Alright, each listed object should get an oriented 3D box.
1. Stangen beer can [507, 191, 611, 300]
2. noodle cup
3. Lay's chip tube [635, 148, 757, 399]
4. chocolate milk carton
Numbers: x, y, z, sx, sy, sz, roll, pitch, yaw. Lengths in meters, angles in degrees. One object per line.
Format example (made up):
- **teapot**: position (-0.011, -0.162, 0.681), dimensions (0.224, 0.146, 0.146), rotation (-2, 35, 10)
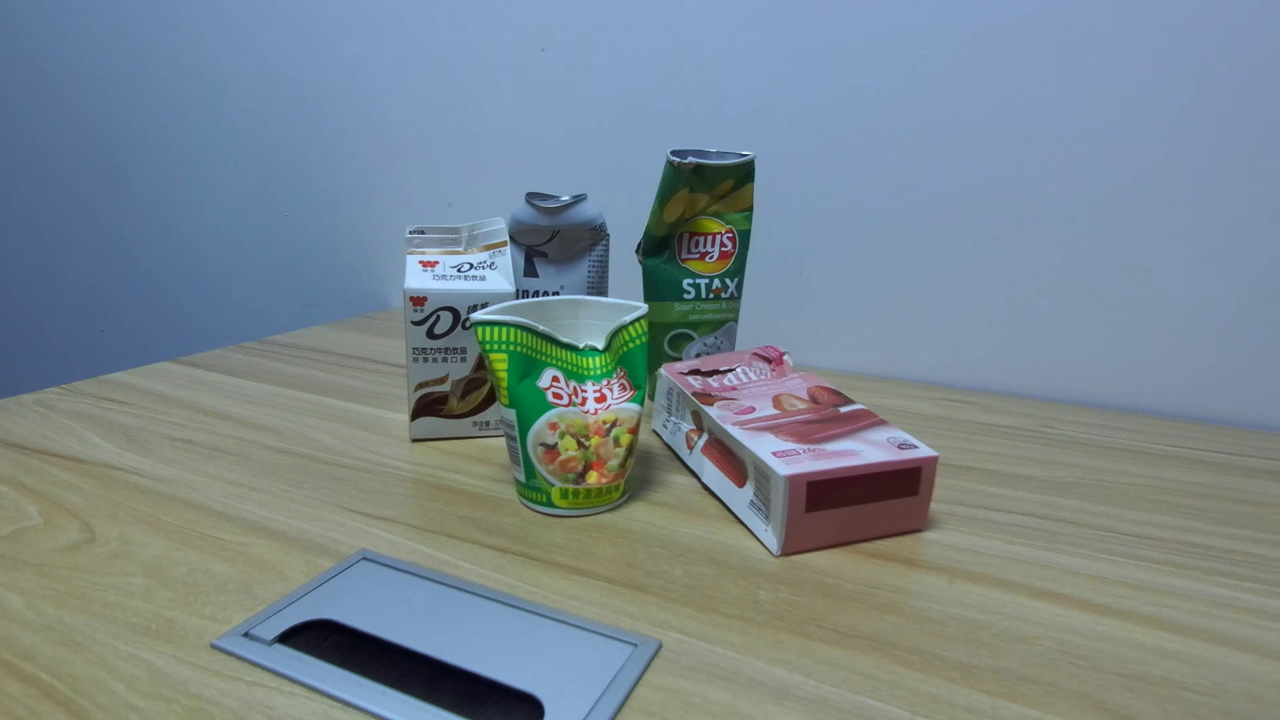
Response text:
- **Stangen beer can**: position (-0.071, -0.059, 0.605), dimensions (0.077, 0.162, 0.065), rotation (-7, 18, -29)
- **noodle cup**: position (-0.037, 0.024, 0.408), dimensions (0.082, 0.122, 0.075), rotation (-3, 7, 19)
- **Lay's chip tube**: position (0.044, -0.064, 0.564), dimensions (0.069, 0.201, 0.077), rotation (10, 20, 26)
- **chocolate milk carton**: position (-0.126, -0.024, 0.504), dimensions (0.075, 0.148, 0.074), rotation (-1, 16, -12)
